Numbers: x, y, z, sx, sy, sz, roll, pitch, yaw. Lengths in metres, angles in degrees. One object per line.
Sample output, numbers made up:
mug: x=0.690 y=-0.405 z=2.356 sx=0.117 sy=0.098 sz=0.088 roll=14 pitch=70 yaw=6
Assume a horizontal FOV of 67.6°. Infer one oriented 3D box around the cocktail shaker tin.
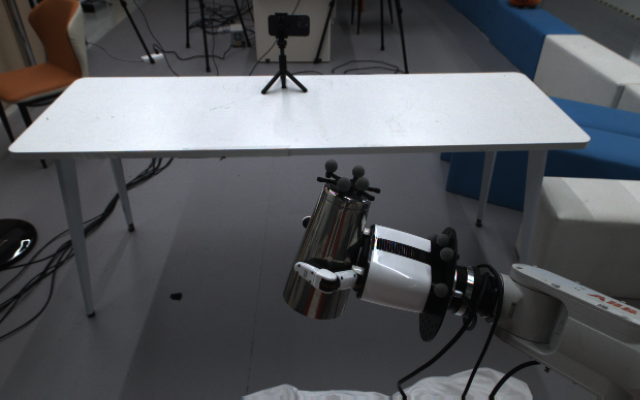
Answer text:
cocktail shaker tin: x=0.015 y=0.065 z=0.660 sx=0.093 sy=0.170 sz=0.093 roll=15 pitch=20 yaw=-5
